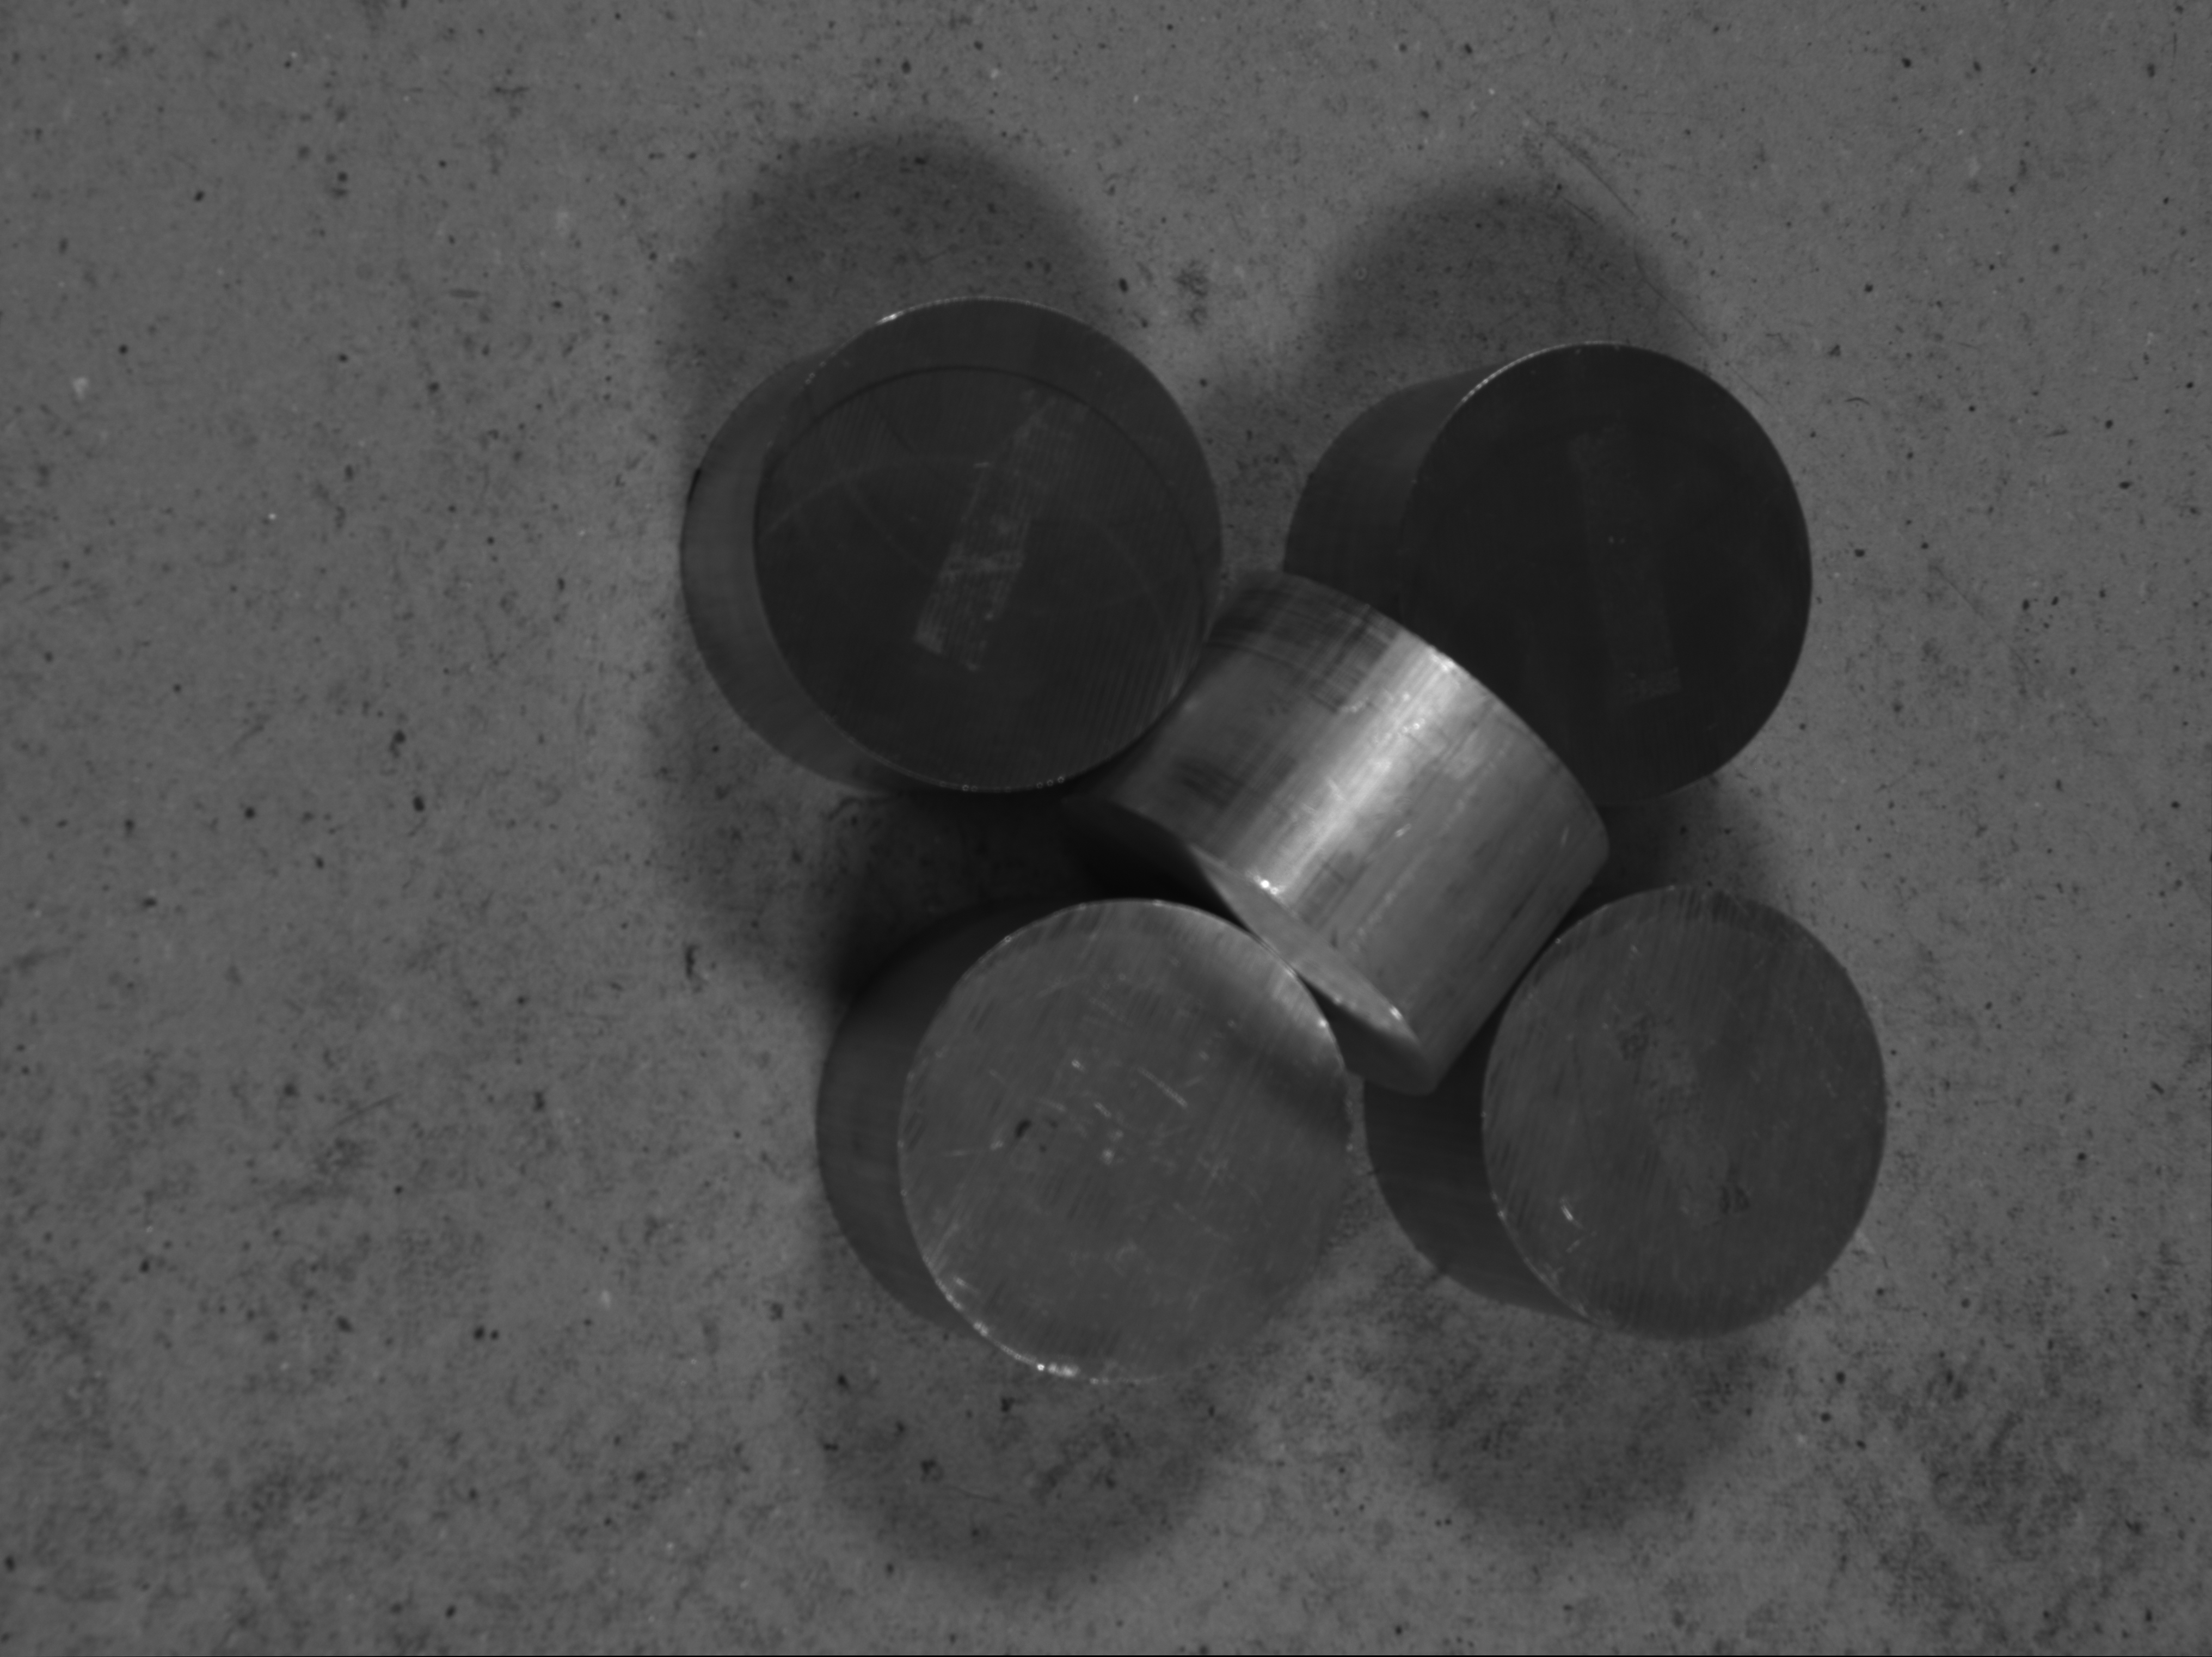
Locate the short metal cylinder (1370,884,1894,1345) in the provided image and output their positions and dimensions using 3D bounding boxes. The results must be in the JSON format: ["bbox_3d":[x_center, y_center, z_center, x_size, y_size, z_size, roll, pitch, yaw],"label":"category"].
[{"bbox_3d":[0.095,0.050,0.663,0.080,0.050,0.080,0,90,-20],"label":"short metal cylinder"}]

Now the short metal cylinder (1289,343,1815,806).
[{"bbox_3d":[0.079,-0.044,0.657,0.080,0.050,0.080,0,90,-20],"label":"short metal cylinder"}]

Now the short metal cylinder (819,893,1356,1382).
[{"bbox_3d":[-0.004,0.051,0.628,0.080,0.050,0.080,0,90,-20],"label":"short metal cylinder"}]

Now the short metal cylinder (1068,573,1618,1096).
[{"bbox_3d":[0.040,0.001,0.629,0.080,0.080,0.050,41,77,-15],"label":"short metal cylinder"}]

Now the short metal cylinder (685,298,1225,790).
[{"bbox_3d":[-0.026,-0.046,0.620,0.080,0.050,0.080,0,90,-20],"label":"short metal cylinder"}]
